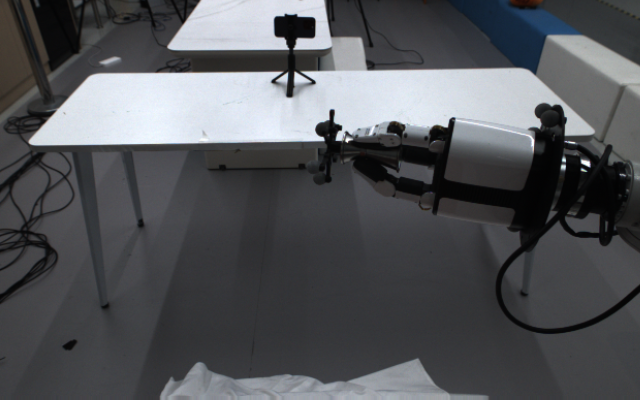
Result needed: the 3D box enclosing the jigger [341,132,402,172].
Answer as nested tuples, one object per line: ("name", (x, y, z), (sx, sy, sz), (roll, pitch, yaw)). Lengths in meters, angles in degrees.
("jigger", (0.068, -0.061, 0.571), (0.071, 0.043, 0.043), (7, 35, 12))
